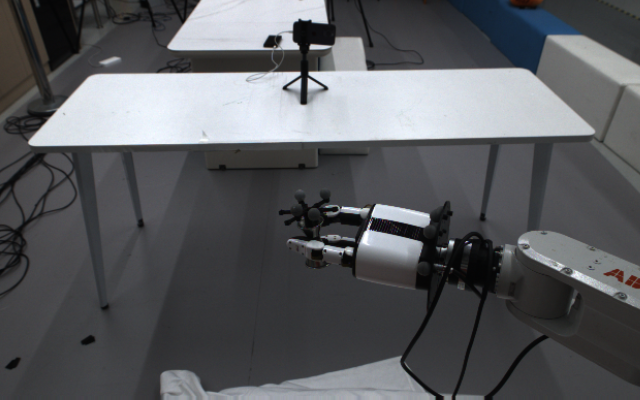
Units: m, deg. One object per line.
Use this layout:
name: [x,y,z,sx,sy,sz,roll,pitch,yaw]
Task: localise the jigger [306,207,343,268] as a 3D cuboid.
jigger: [-0.006,0.059,0.717,0.043,0.071,0.043,-10,23,5]
